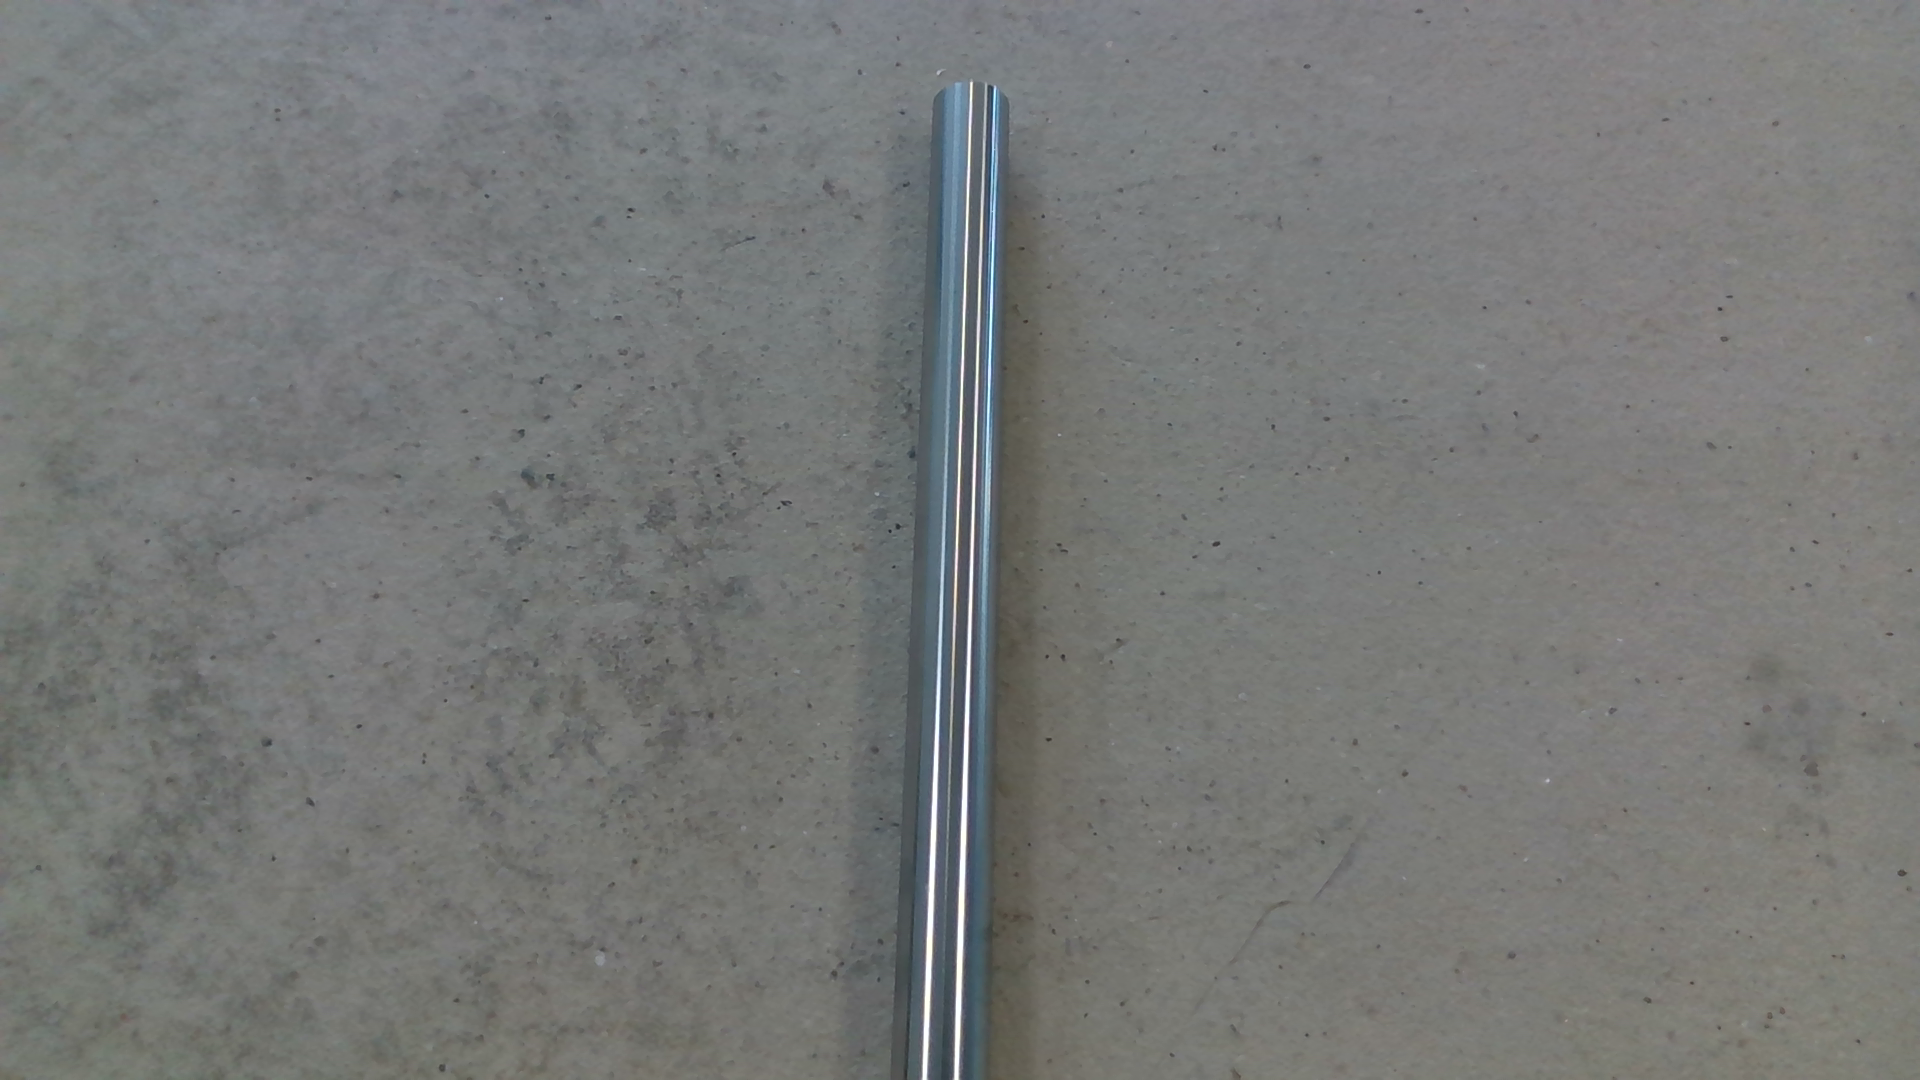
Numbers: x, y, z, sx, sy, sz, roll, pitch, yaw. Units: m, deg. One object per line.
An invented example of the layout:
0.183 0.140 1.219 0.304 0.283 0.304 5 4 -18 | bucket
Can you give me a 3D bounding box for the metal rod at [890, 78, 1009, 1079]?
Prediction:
-0.001 -0.001 0.396 0.025 0.025 0.299 2 70 1 | metal rod
